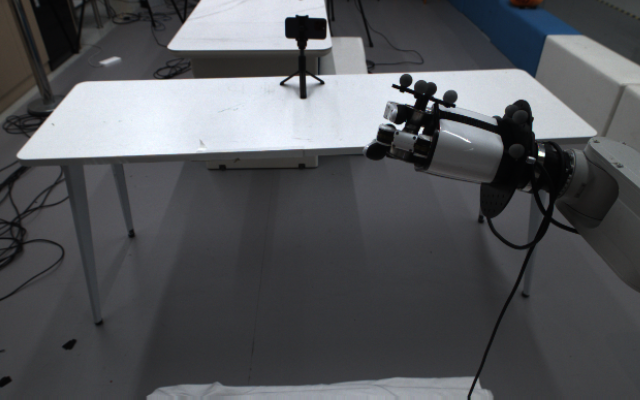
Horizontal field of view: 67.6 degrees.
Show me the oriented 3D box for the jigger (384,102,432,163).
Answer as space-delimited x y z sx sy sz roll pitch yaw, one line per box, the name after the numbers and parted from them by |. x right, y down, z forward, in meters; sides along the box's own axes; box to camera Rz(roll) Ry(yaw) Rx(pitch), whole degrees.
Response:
0.119 -0.088 0.643 0.043 0.071 0.043 18 17 -6 | jigger
